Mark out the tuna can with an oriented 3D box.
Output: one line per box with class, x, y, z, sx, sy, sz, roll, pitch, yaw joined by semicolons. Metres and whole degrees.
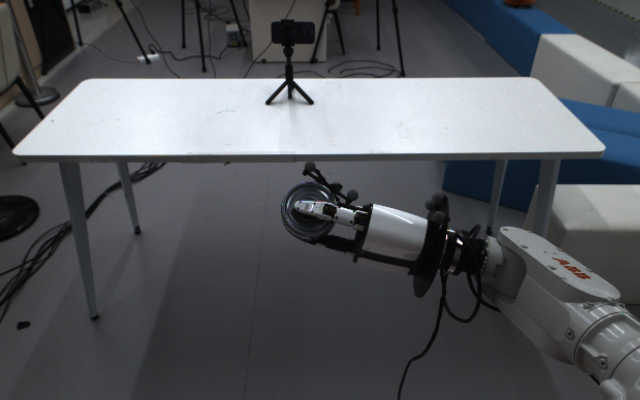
tuna can;-0.014;0.016;0.727;0.085;0.034;0.085;0;73;0
